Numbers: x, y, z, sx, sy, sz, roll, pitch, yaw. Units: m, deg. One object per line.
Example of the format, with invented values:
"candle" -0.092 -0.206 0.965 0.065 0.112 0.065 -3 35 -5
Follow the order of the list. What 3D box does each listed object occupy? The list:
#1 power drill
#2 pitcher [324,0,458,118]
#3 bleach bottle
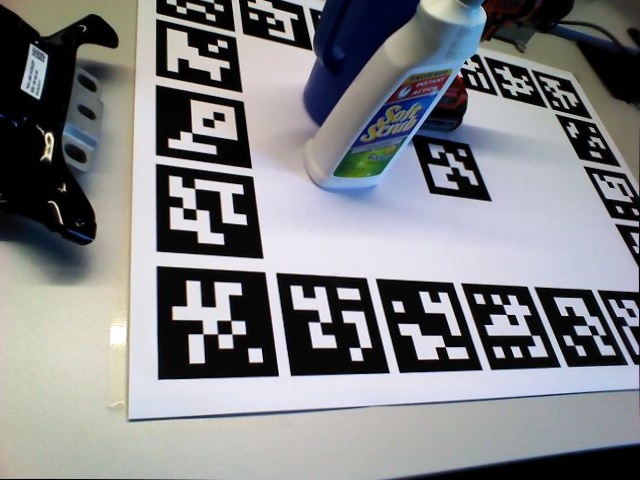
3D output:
"power drill" 0.236 -0.229 0.647 0.184 0.188 0.057 1 63 -32
"pitcher" 0.091 -0.228 0.561 0.187 0.244 0.133 -25 75 -35
"bleach bottle" 0.105 -0.150 0.494 0.102 0.252 0.067 -4 63 -28
